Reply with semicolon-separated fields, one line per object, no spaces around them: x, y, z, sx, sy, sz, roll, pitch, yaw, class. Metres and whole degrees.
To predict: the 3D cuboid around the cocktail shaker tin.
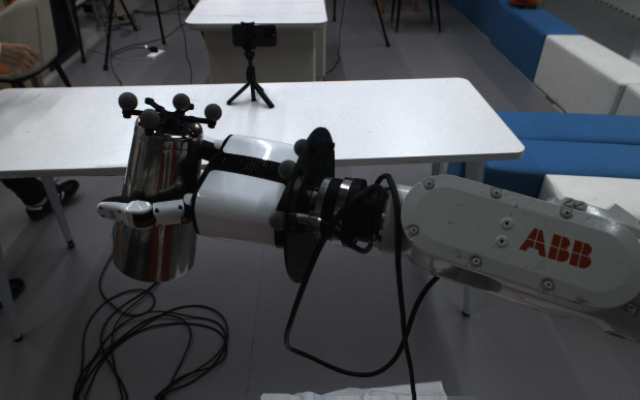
-0.170;-0.005;0.527;0.093;0.170;0.093;12;29;-7;cocktail shaker tin
